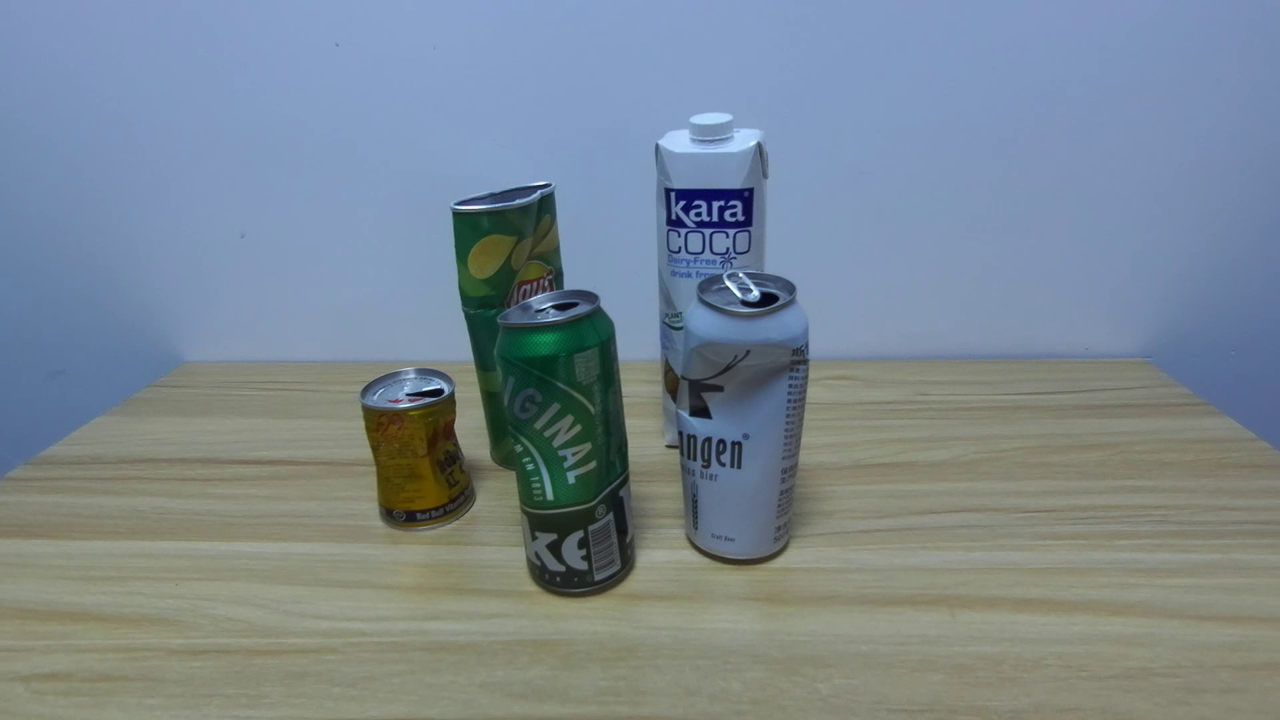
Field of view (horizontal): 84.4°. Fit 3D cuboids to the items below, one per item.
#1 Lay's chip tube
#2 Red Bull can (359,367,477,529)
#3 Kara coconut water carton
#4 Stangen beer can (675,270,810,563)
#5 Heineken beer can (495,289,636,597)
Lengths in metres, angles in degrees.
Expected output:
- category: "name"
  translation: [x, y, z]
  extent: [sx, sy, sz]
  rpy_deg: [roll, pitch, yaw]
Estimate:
- category: "Lay's chip tube"
  translation: [-0.088, -0.021, 0.520]
  extent: [0.069, 0.199, 0.074]
  rpy_deg: [-5, 24, -5]
- category: "Red Bull can"
  translation: [-0.150, 0.060, 0.477]
  extent: [0.072, 0.092, 0.072]
  rpy_deg: [-2, 22, 1]
- category: "Kara coconut water carton"
  translation: [0.053, -0.053, 0.522]
  extent: [0.077, 0.245, 0.075]
  rpy_deg: [2, 23, 11]
- category: "Stangen beer can"
  translation: [0.059, 0.035, 0.412]
  extent: [0.070, 0.173, 0.070]
  rpy_deg: [-15, 28, -26]
- category: "Heineken beer can"
  translation: [-0.041, 0.048, 0.401]
  extent: [0.068, 0.168, 0.069]
  rpy_deg: [-14, 23, -19]
